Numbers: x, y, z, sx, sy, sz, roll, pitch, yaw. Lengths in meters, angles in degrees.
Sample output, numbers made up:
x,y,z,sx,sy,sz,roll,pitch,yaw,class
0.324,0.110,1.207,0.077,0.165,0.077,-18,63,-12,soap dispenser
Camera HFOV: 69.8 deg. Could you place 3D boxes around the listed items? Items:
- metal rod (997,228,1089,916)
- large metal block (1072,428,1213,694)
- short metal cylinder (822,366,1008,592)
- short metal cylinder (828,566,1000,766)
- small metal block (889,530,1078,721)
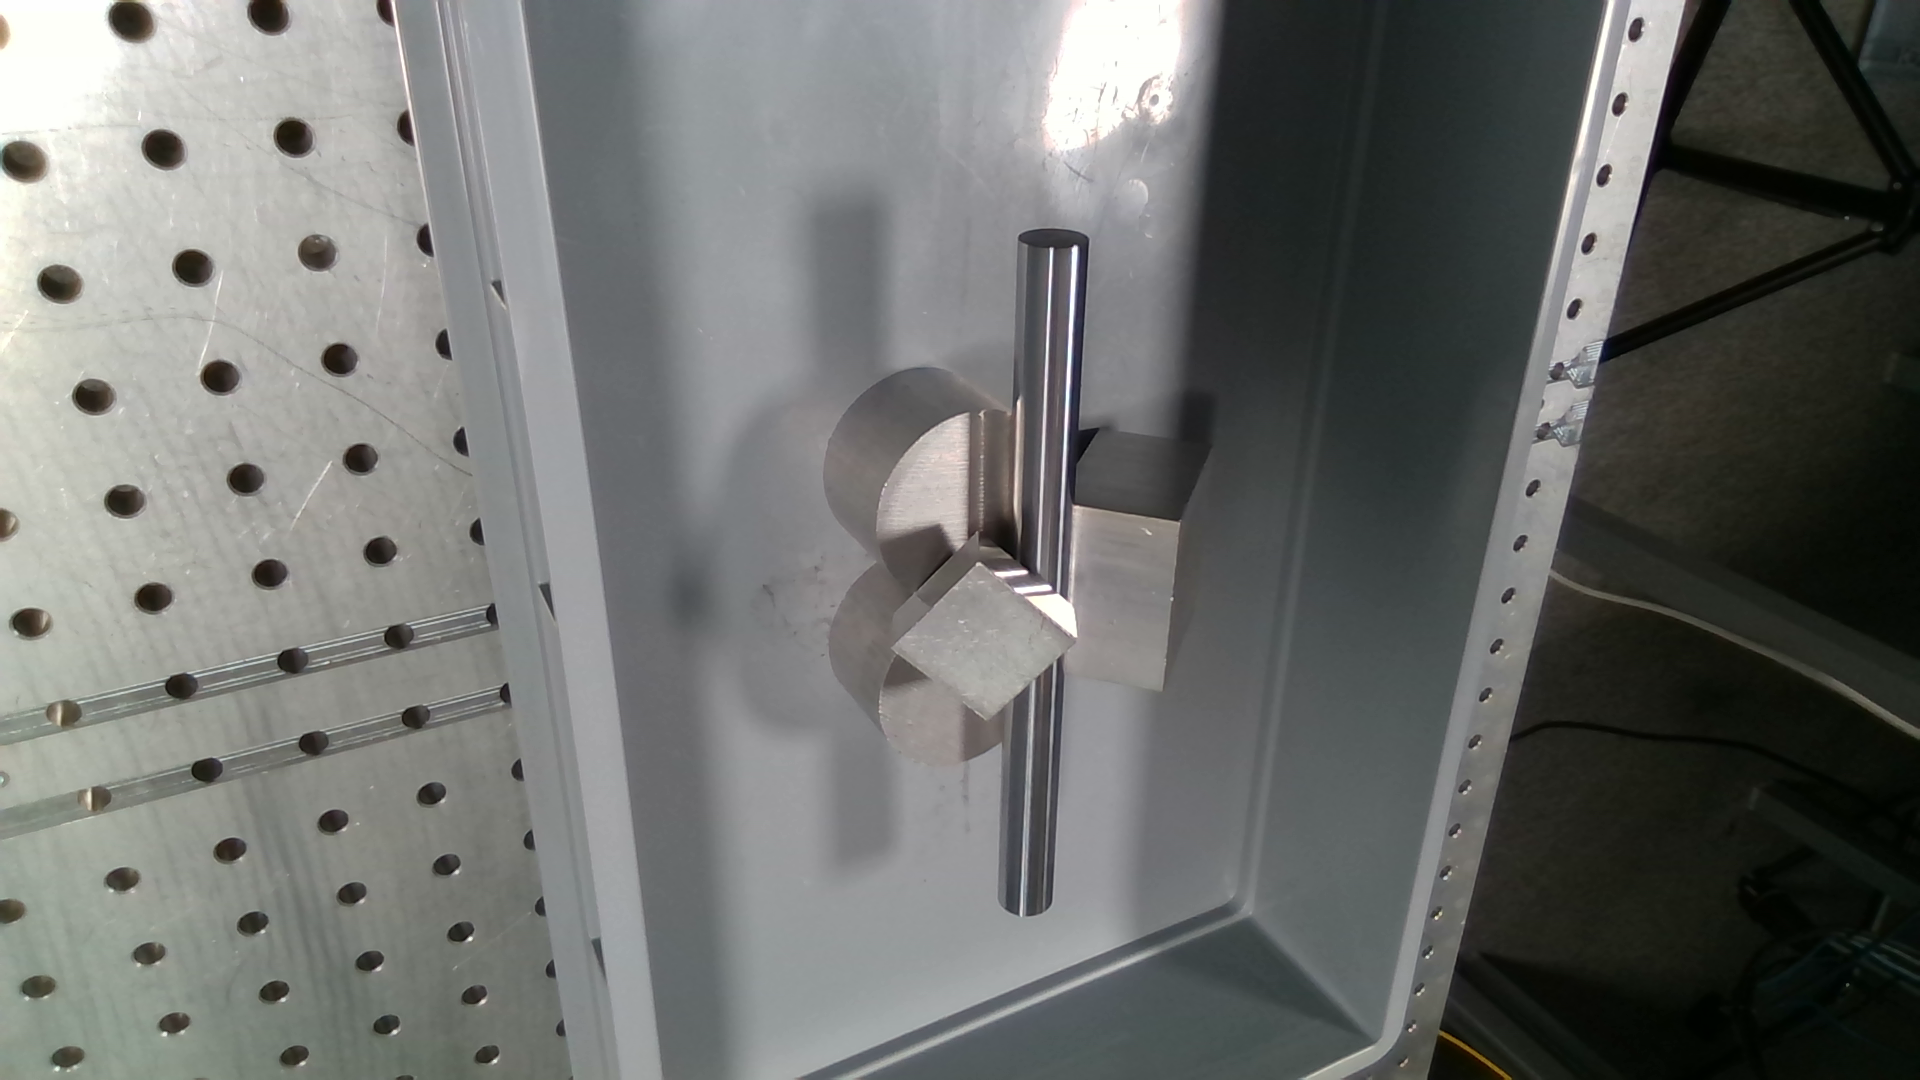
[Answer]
x,y,z,sx,sy,sz,roll,pitch,yaw,class
0.031,0.028,0.549,0.025,0.025,0.301,-14,121,-25,metal rod
0.072,0.006,0.585,0.080,0.050,0.080,-54,150,-57,large metal block
-0.008,-0.023,0.546,0.080,0.050,0.080,-14,122,-25,short metal cylinder
-0.009,0.048,0.584,0.080,0.050,0.080,-14,122,-25,short metal cylinder
0.009,0.033,0.524,0.050,0.025,0.050,38,112,-18,small metal block
